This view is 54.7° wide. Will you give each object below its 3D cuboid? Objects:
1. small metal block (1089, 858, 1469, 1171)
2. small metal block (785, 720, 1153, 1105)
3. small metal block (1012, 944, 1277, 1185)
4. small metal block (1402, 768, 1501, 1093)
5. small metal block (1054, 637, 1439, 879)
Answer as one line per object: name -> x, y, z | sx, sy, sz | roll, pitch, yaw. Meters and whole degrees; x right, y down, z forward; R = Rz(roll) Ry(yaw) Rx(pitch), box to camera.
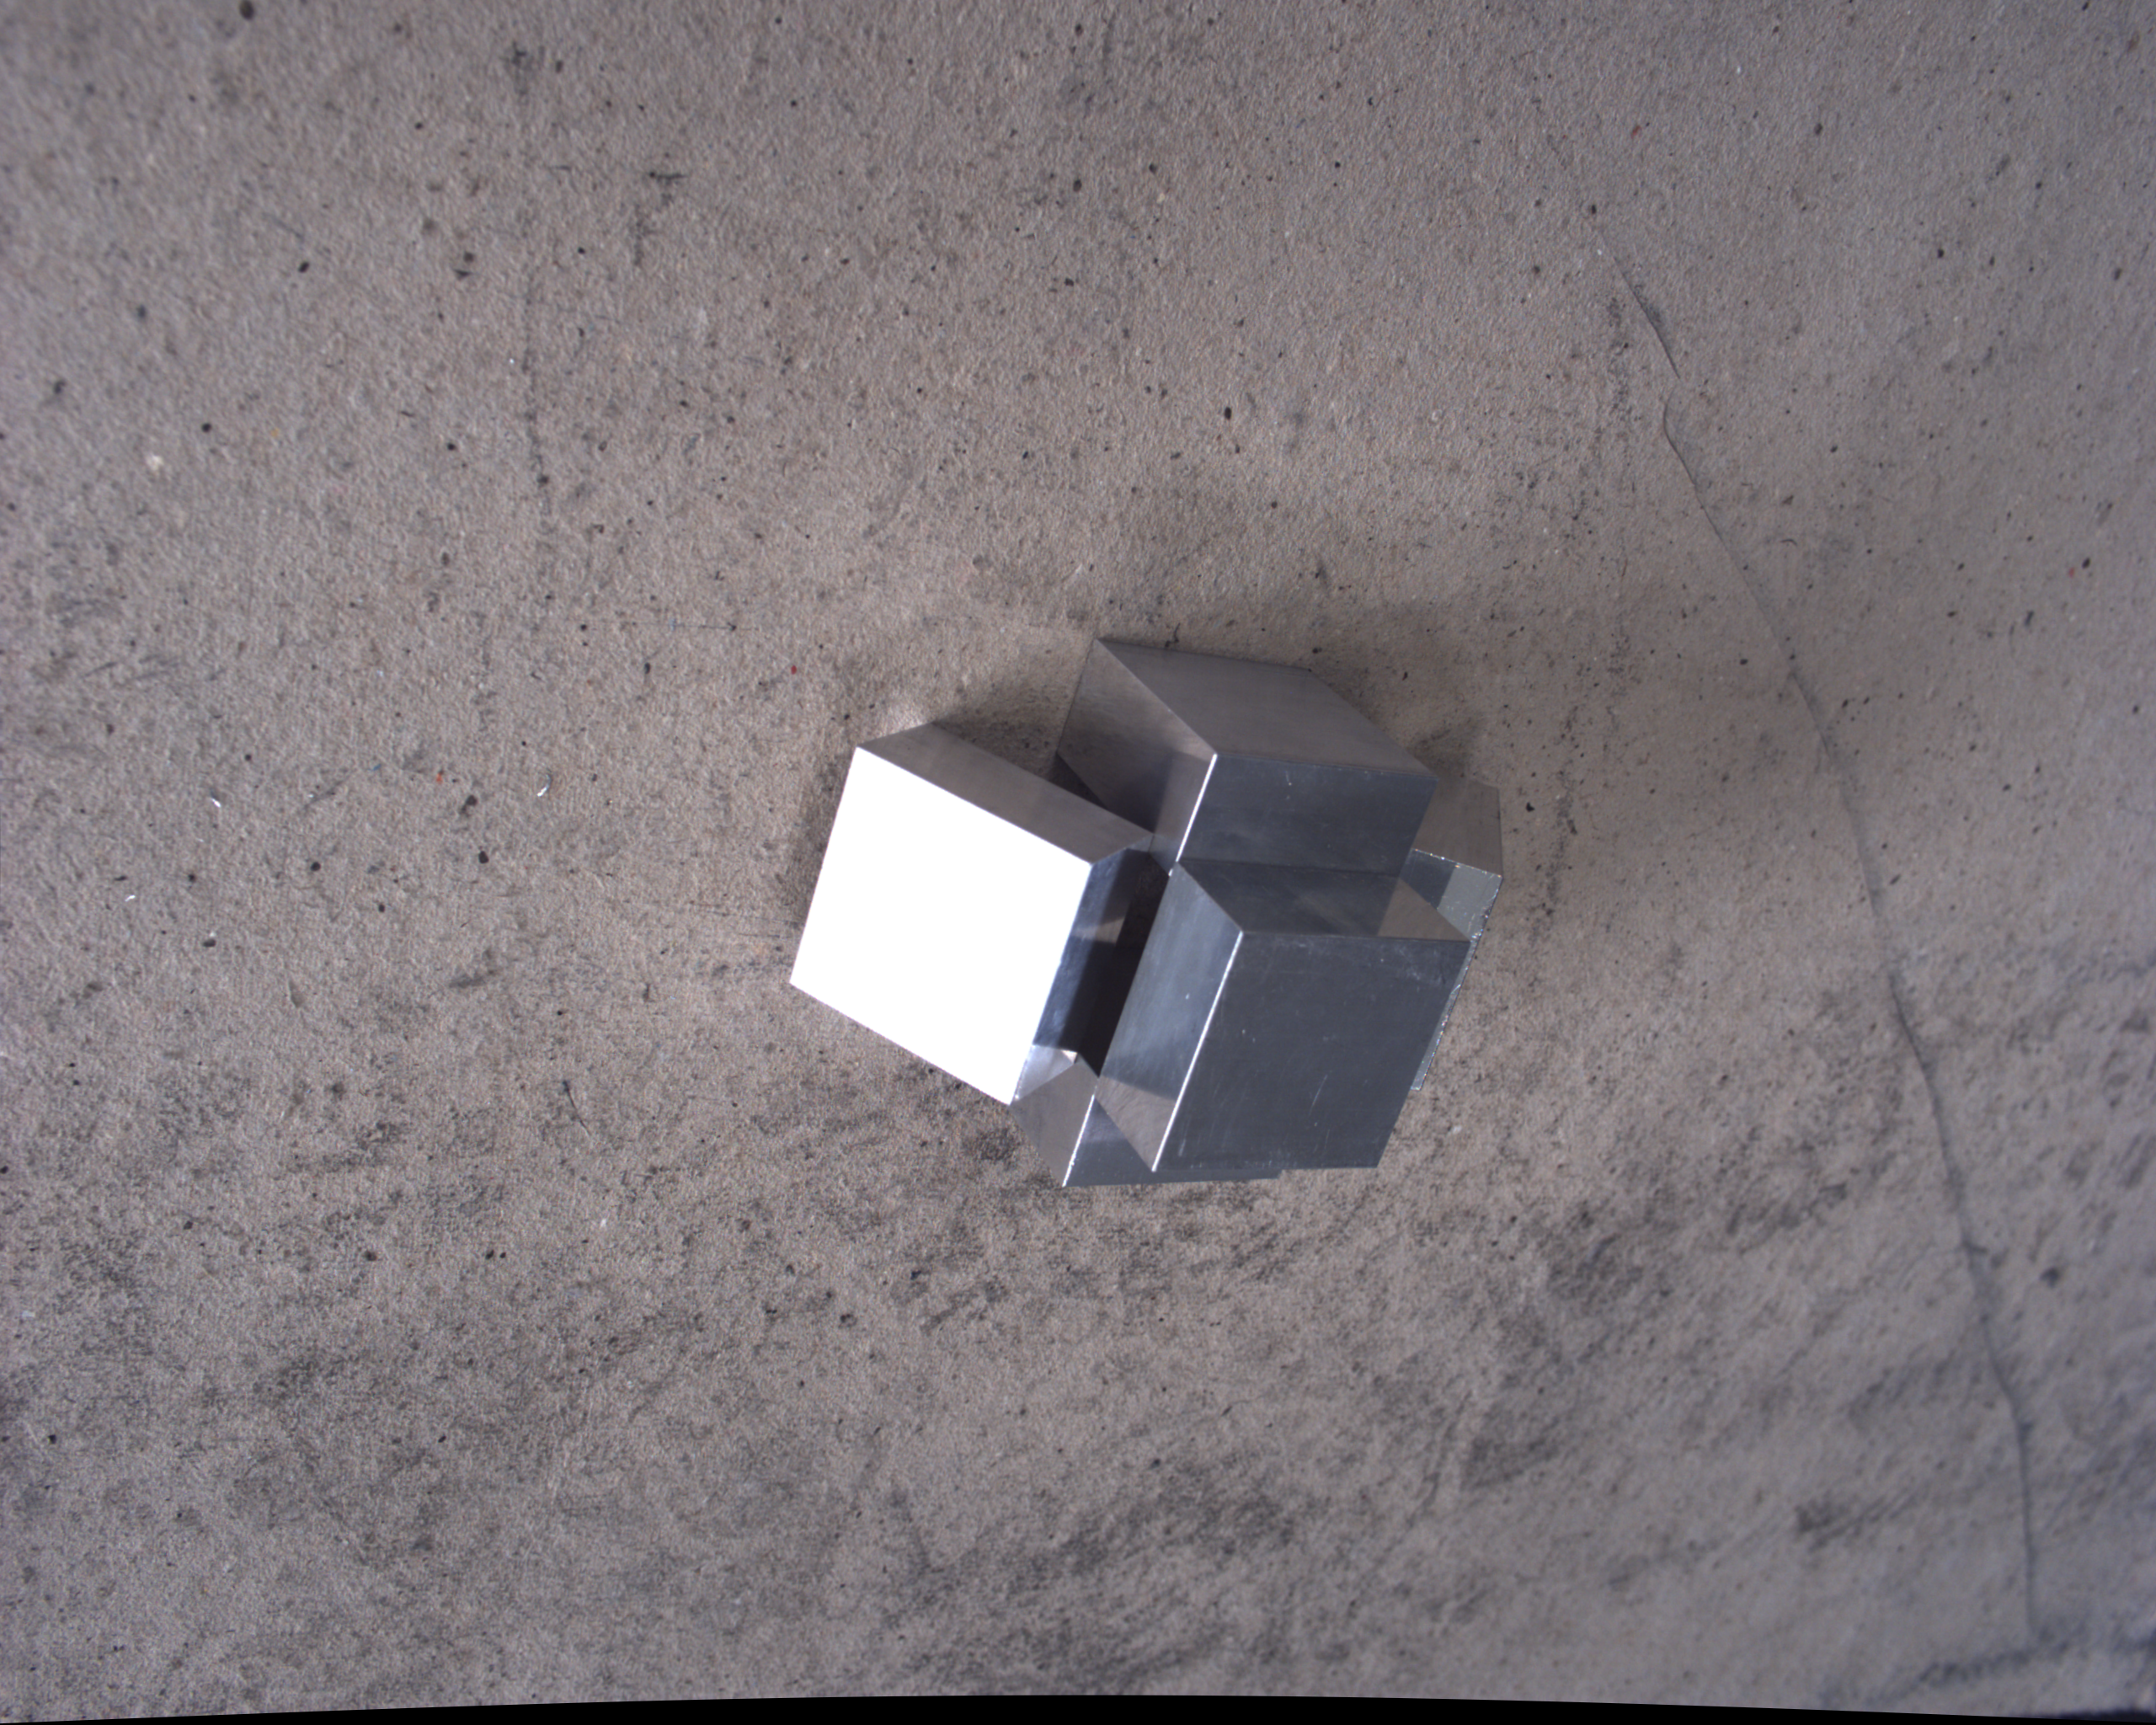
small metal block -> 0.036, 0.028, 0.382 | 0.050, 0.025, 0.050 | 4, 117, -30
small metal block -> -0.021, 0.008, 0.384 | 0.025, 0.050, 0.050 | -26, 139, -59
small metal block -> 0.011, 0.040, 0.424 | 0.050, 0.050, 0.025 | 3, 117, -30
small metal block -> 0.067, 0.012, 0.433 | 0.025, 0.050, 0.050 | 18, 114, 3
small metal block -> 0.031, -0.019, 0.398 | 0.050, 0.050, 0.025 | 4, 117, -31
